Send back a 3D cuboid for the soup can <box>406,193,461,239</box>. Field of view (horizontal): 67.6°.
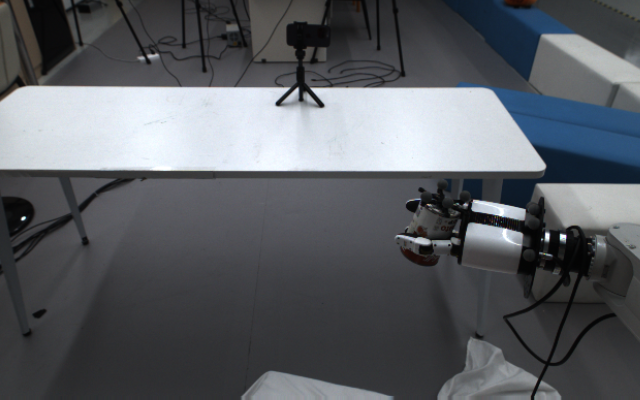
[{"bbox_3d":[0.180,0.047,0.790,0.067,0.101,0.067,13,30,-8],"label":"soup can"}]
